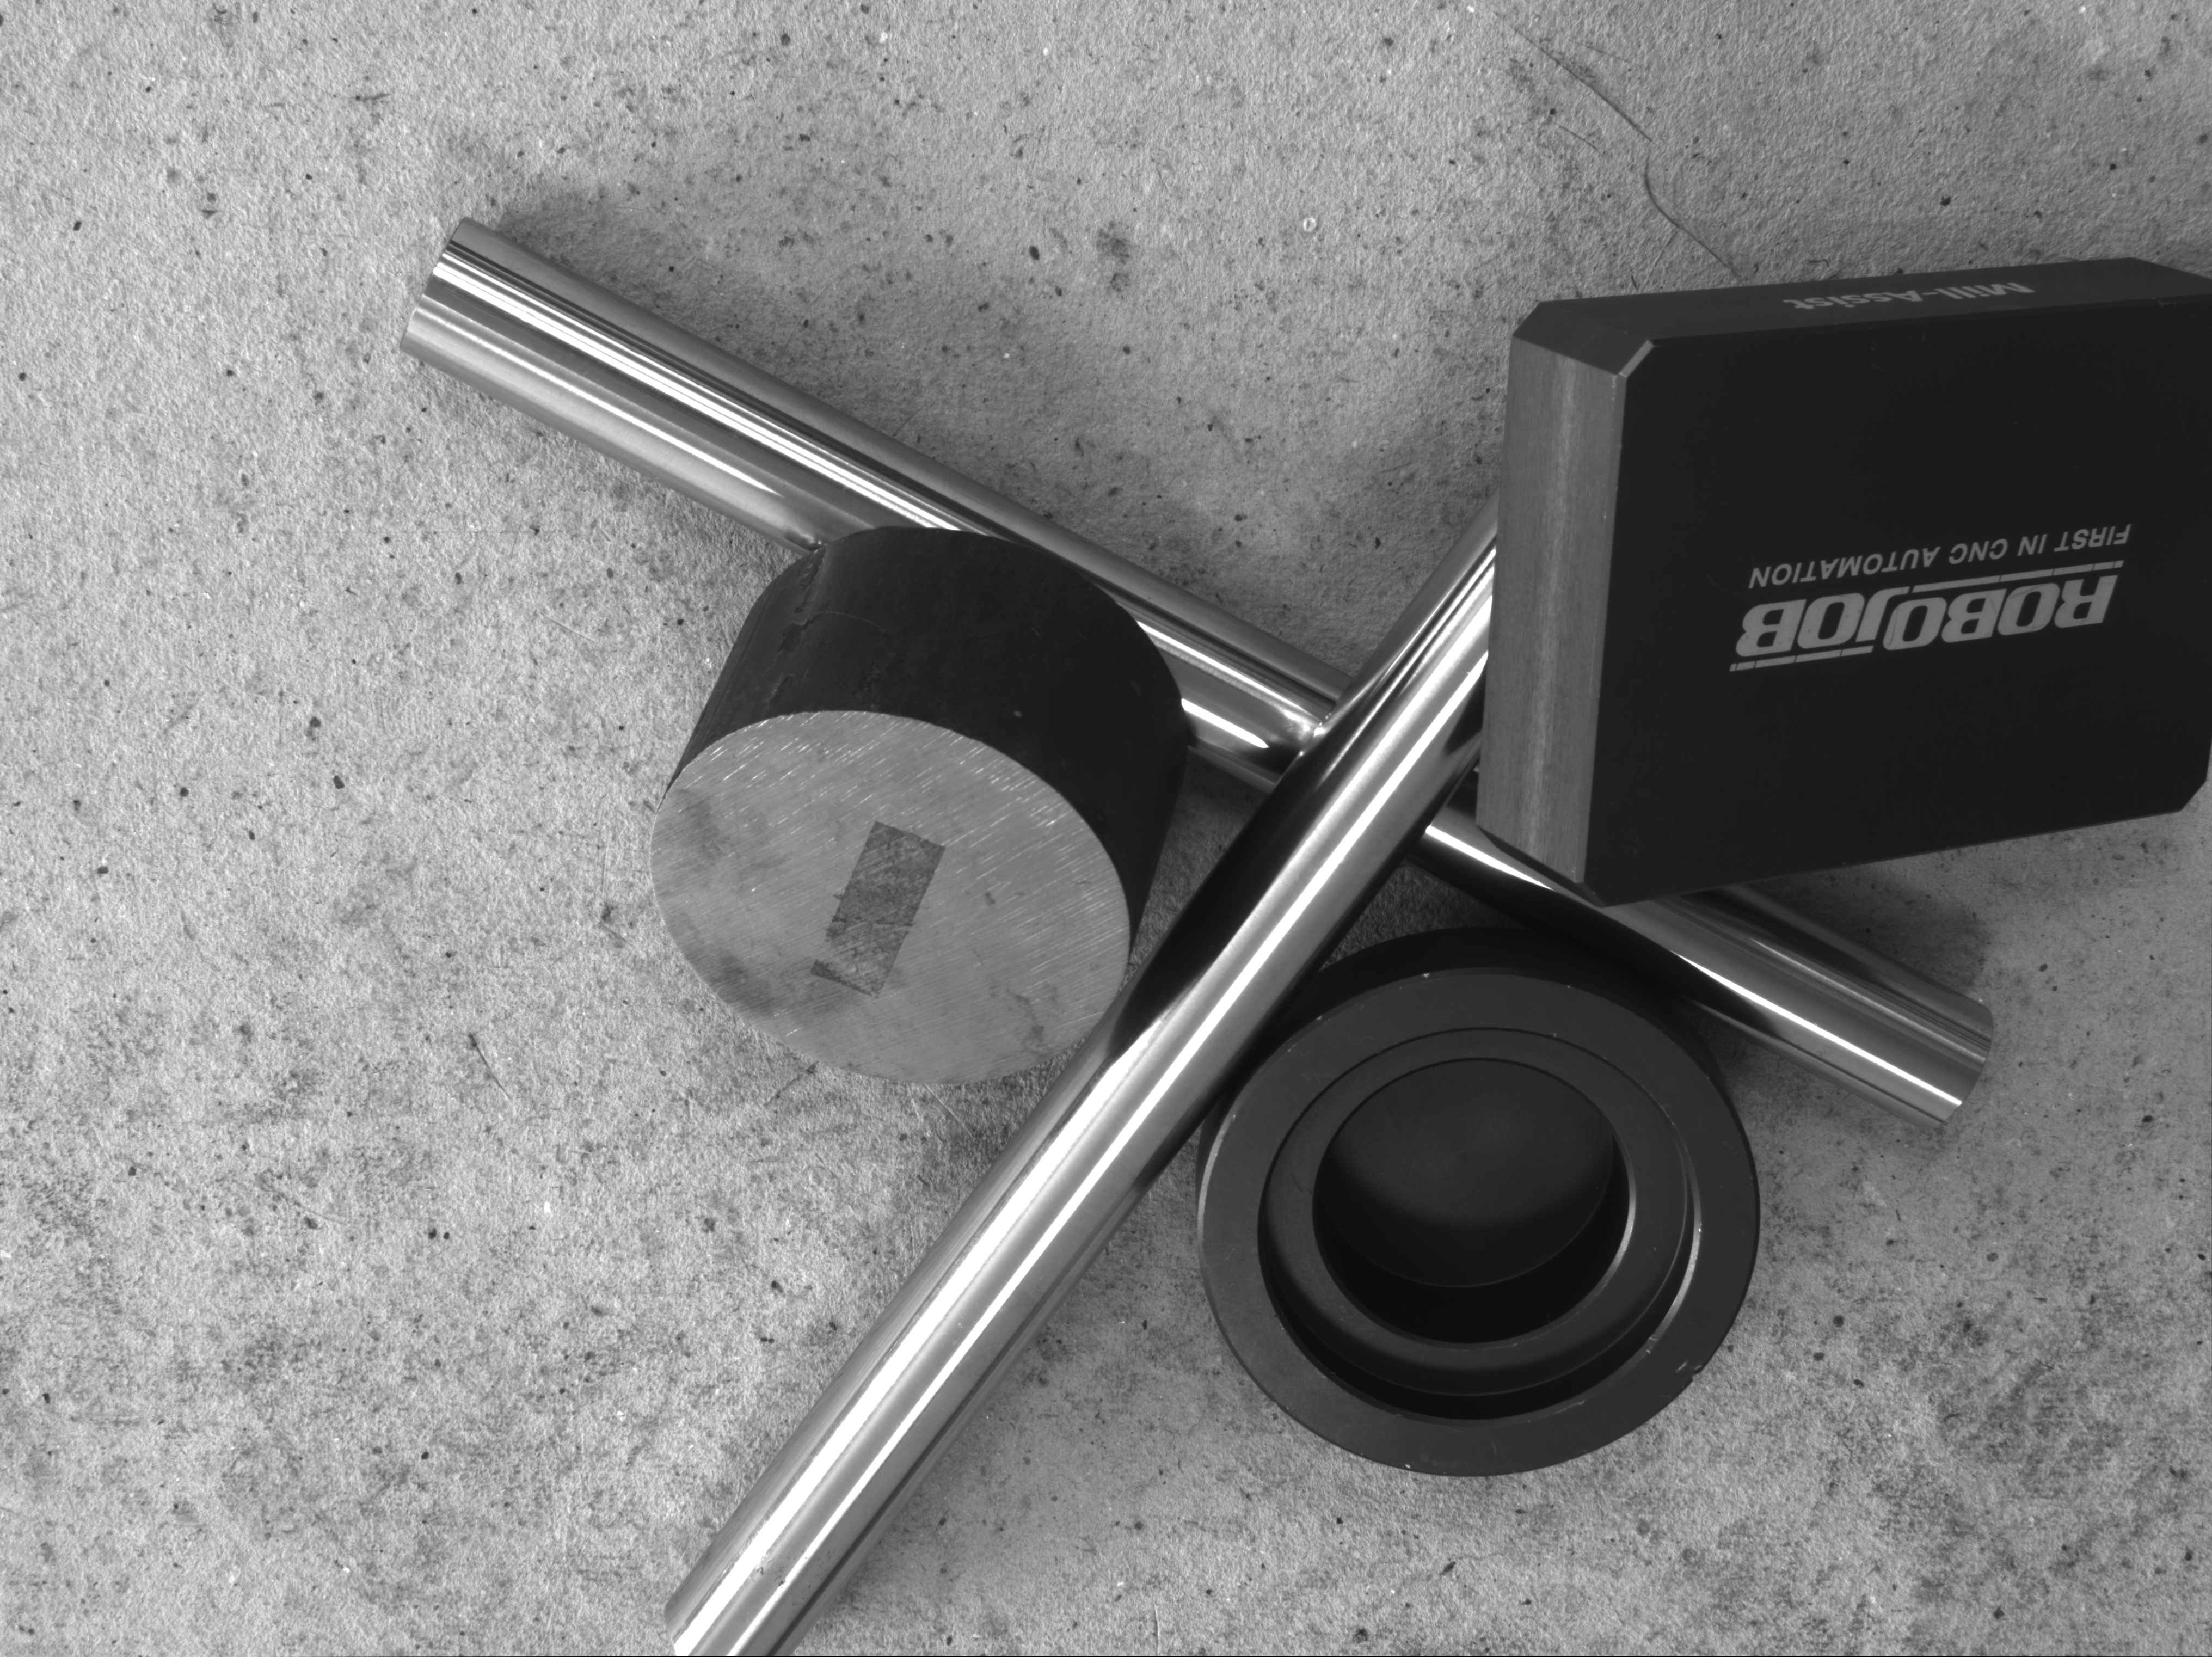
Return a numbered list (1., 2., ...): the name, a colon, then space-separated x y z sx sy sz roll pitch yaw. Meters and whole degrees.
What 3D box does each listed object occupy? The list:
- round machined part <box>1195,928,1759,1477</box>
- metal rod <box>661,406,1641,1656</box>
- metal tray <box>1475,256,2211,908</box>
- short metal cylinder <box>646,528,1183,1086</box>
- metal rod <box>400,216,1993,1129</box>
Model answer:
1. round machined part: 0.065 0.063 0.658 0.098 0.042 0.098 0 110 0
2. metal rod: 0.007 0.043 0.641 0.025 0.025 0.300 31 114 -11
3. metal tray: 0.125 -0.042 0.596 0.130 0.030 0.090 -8 113 -27
4. short metal cylinder: -0.031 -0.003 0.616 0.080 0.050 0.080 8 131 9
5. metal rod: 0.020 -0.024 0.636 0.300 0.025 0.025 27 108 -9
